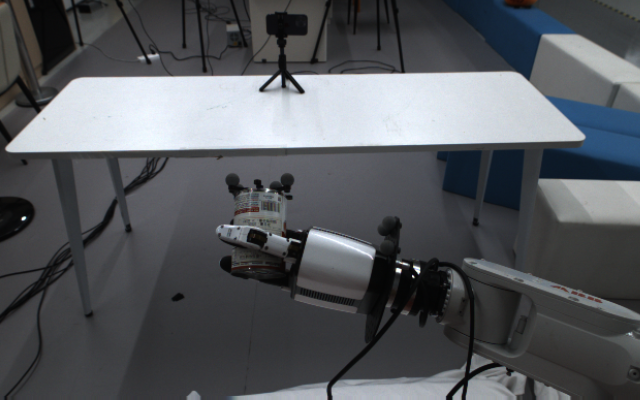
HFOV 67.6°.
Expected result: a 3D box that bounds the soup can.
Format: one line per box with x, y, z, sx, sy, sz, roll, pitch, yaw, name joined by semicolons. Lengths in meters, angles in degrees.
-0.074;0.044;0.602;0.067;0.067;0.101;1;73;-2;soup can
